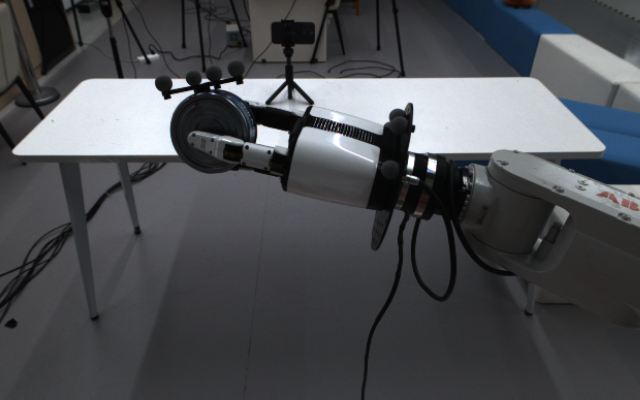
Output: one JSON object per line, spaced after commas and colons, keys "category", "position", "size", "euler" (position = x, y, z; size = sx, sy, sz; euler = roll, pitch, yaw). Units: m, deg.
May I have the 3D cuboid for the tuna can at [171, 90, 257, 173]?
{"category": "tuna can", "position": [-0.108, -0.066, 0.508], "size": [0.085, 0.085, 0.034], "euler": [6, 18, 5]}
